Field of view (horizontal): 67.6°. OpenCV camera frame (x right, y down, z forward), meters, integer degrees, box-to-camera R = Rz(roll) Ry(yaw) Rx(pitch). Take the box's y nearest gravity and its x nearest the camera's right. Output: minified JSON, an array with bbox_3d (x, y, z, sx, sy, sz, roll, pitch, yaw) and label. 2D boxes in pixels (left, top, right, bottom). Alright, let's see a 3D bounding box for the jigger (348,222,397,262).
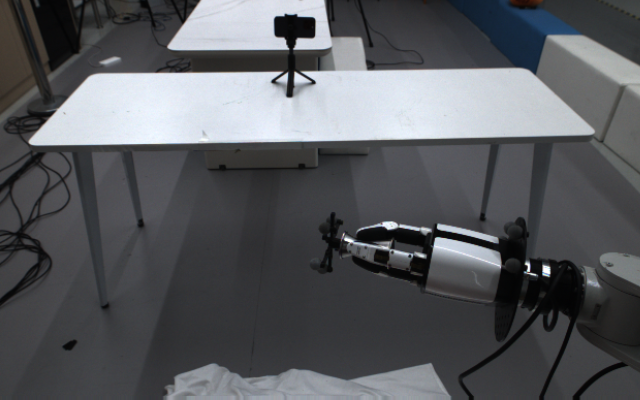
[{"bbox_3d":[0.070,0.062,0.657,0.071,0.043,0.043,8,35,16],"label":"jigger"}]
